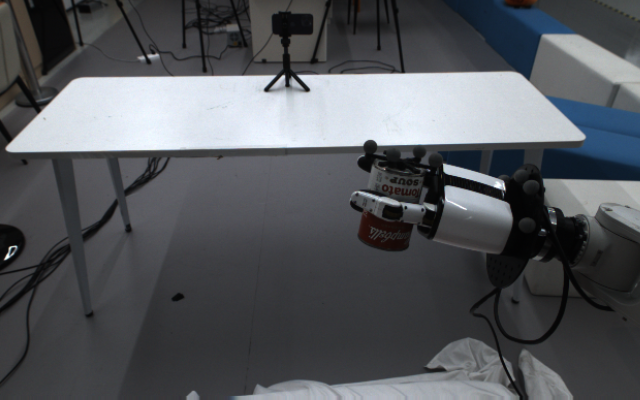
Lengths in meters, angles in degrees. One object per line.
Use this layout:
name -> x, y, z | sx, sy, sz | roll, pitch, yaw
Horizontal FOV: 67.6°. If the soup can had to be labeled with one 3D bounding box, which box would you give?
soup can -> 0.091, 0.005, 0.609 | 0.067, 0.101, 0.067 | 9, 19, -3
